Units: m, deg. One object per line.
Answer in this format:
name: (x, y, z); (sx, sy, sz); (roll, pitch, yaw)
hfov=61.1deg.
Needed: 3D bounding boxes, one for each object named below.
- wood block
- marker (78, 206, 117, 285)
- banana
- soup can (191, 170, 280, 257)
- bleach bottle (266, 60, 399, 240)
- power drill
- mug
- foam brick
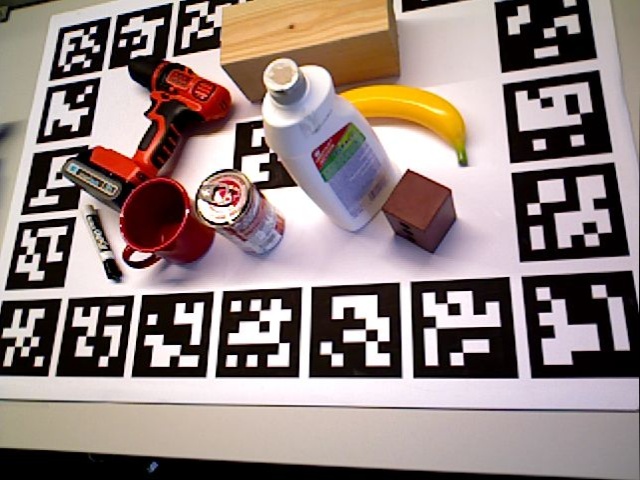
wood block: (-0.002, -0.240, 0.663); (0.207, 0.091, 0.089); (-4, 71, 17)
marker: (-0.293, 0.007, 0.714); (0.020, 0.020, 0.120); (-32, 66, 7)
banana: (0.078, -0.153, 0.631); (0.198, 0.038, 0.074); (13, 90, 19)
soup can: (-0.091, -0.030, 0.606); (0.068, 0.103, 0.067); (-6, 65, 13)
bleach bottle: (0.012, -0.090, 0.517); (0.068, 0.252, 0.102); (28, 79, 25)
power drill: (-0.225, -0.143, 0.725); (0.185, 0.057, 0.186); (27, 81, 21)
mug: (-0.191, -0.014, 0.650); (0.117, 0.081, 0.093); (-48, 67, 1)
foam brick: (0.109, -0.020, 0.559); (0.053, 0.078, 0.051); (32, 80, 27)
